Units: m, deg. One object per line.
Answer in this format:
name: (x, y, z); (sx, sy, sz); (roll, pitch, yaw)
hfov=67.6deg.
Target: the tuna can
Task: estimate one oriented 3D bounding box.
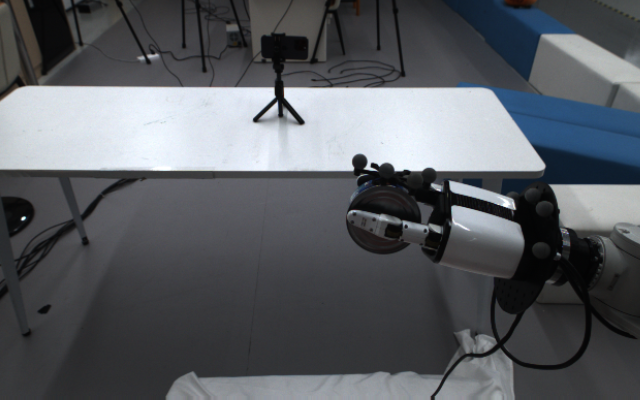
tuna can: (0.076, 0.015, 0.569); (0.085, 0.085, 0.034); (5, 18, 4)
